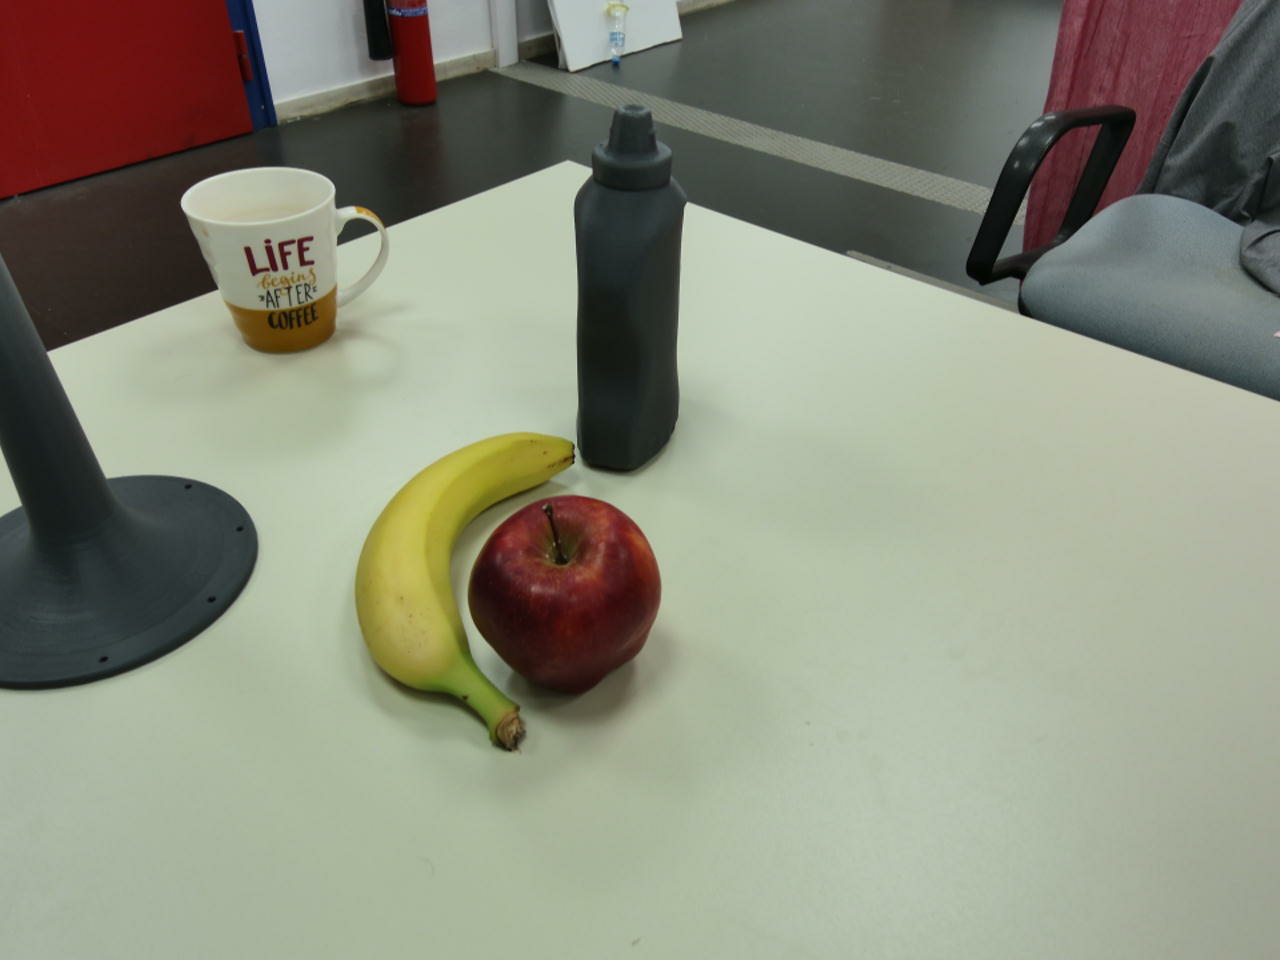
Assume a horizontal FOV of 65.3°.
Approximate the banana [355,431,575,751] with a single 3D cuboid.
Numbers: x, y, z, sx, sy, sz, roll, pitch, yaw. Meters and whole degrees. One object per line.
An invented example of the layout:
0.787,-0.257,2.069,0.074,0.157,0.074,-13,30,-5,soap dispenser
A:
-0.089,0.038,0.490,0.094,0.041,0.196,4,36,3,banana
